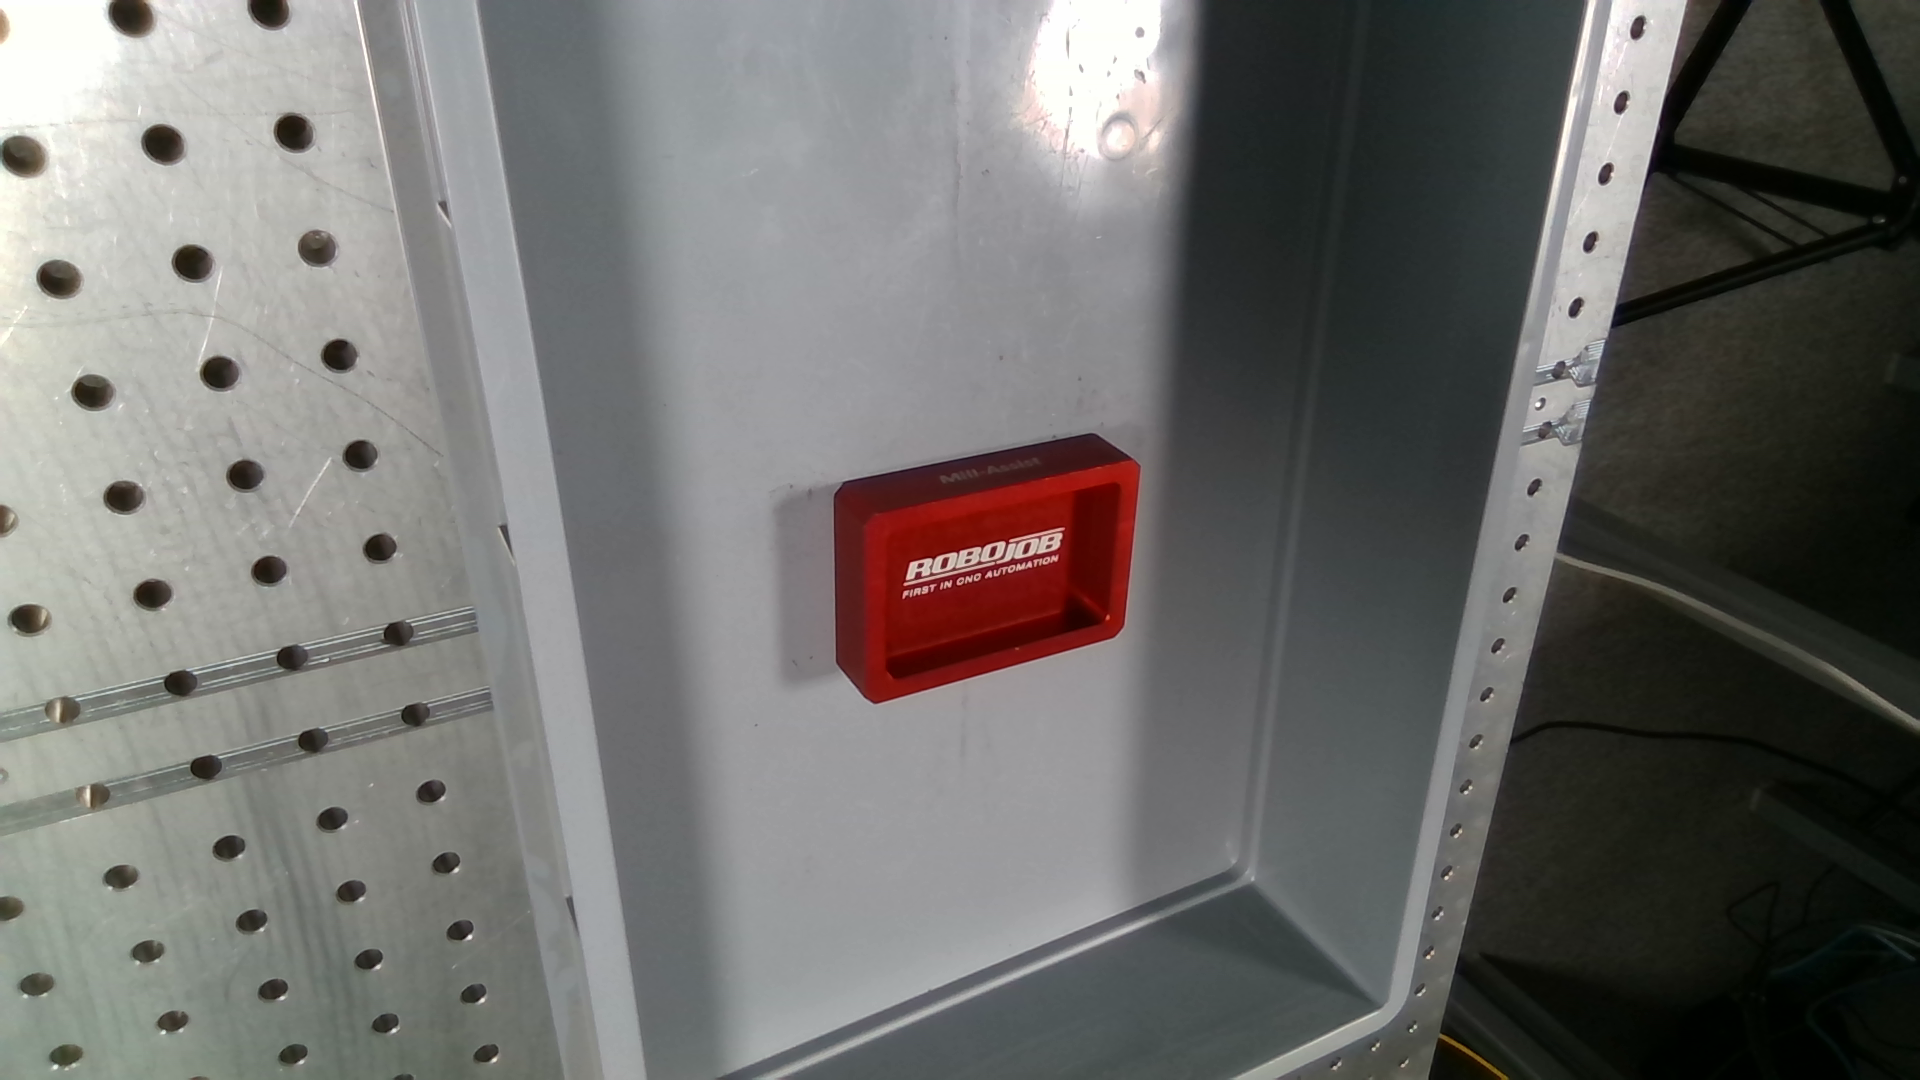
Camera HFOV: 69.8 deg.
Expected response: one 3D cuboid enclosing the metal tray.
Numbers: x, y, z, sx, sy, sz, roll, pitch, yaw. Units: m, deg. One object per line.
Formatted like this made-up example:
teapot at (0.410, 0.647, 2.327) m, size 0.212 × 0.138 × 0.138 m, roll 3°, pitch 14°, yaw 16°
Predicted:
metal tray at (0.012, 0.011, 0.587) m, size 0.130 × 0.030 × 0.090 m, roll -13°, pitch 121°, yaw -26°
